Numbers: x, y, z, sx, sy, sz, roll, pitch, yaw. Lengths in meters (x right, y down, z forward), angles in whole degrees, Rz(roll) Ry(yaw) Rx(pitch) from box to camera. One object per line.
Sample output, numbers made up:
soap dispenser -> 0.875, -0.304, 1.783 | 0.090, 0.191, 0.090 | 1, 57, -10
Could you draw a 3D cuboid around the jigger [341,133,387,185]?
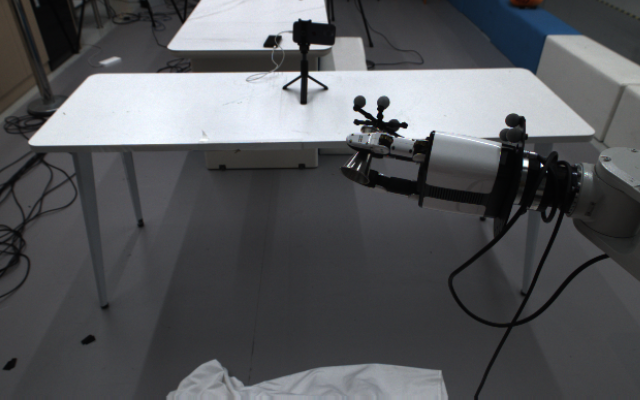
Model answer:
jigger -> 0.059, -0.064, 0.653 | 0.043, 0.043, 0.071 | 20, 73, 24
